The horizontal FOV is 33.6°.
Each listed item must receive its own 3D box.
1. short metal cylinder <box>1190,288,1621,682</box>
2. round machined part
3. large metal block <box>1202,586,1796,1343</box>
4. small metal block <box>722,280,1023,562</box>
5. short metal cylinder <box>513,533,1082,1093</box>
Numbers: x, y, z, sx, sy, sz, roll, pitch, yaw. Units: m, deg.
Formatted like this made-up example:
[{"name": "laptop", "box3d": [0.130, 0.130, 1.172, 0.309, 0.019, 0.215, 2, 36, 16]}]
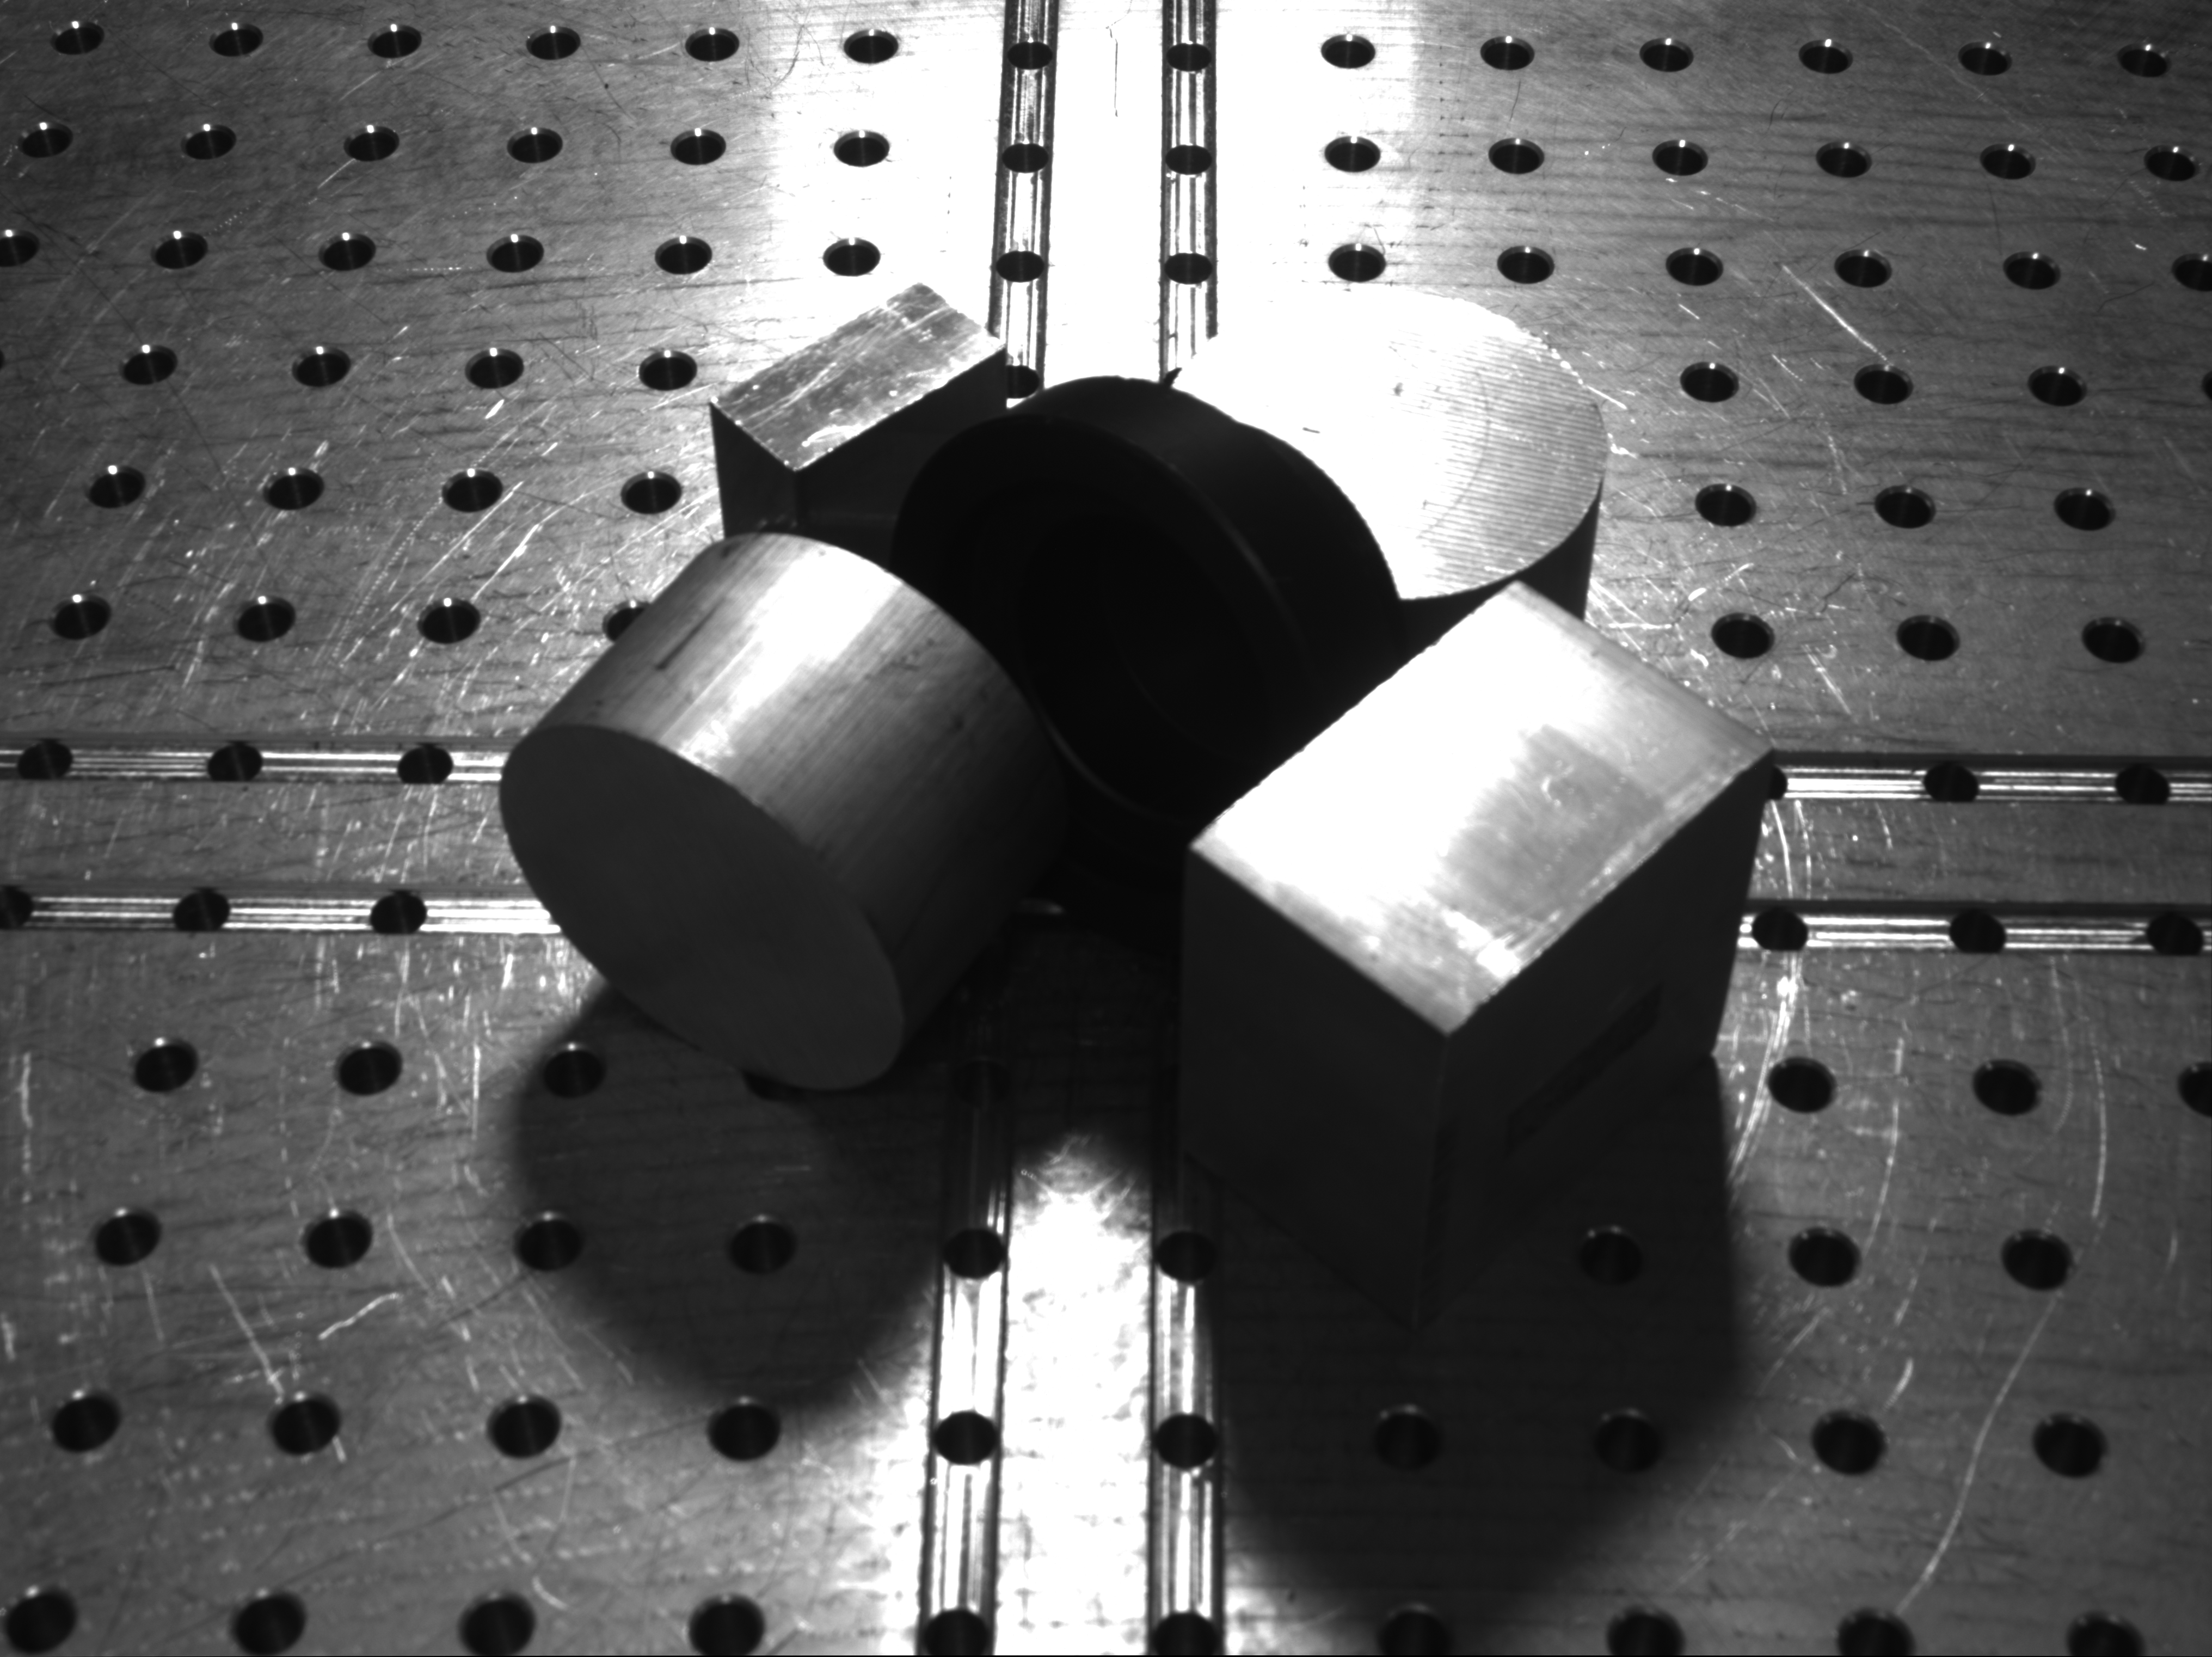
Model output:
[{"name": "short metal cylinder", "box3d": [0.052, -0.054, 0.674, 0.080, 0.050, 0.080, 0, 50, 0]}, {"name": "round machined part", "box3d": [0.014, -0.032, 0.625, 0.098, 0.098, 0.042, 34, 45, 25]}, {"name": "large metal block", "box3d": [0.062, 0.022, 0.591, 0.050, 0.080, 0.080, 36, 58, 26]}, {"name": "small metal block", "box3d": [-0.042, -0.066, 0.684, 0.050, 0.050, 0.025, -35, 58, -26]}, {"name": "short metal cylinder", "box3d": [-0.051, -0.002, 0.610, 0.080, 0.080, 0.050, 25, 54, 20]}]
